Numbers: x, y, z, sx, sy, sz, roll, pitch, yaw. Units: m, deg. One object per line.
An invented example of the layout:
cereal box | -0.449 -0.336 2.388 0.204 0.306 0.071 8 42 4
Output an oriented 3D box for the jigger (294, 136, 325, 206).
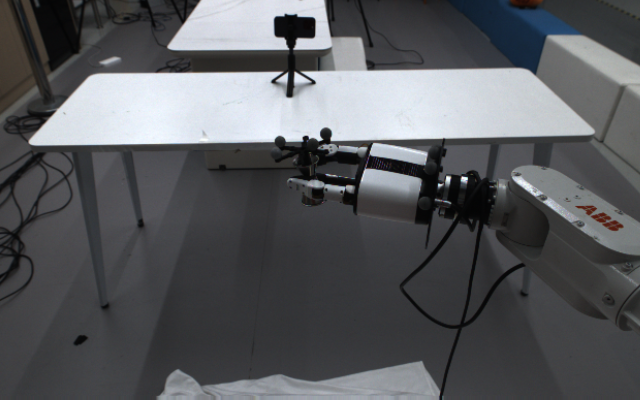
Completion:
jigger | -0.014 -0.031 0.729 0.043 0.071 0.043 -10 32 6
